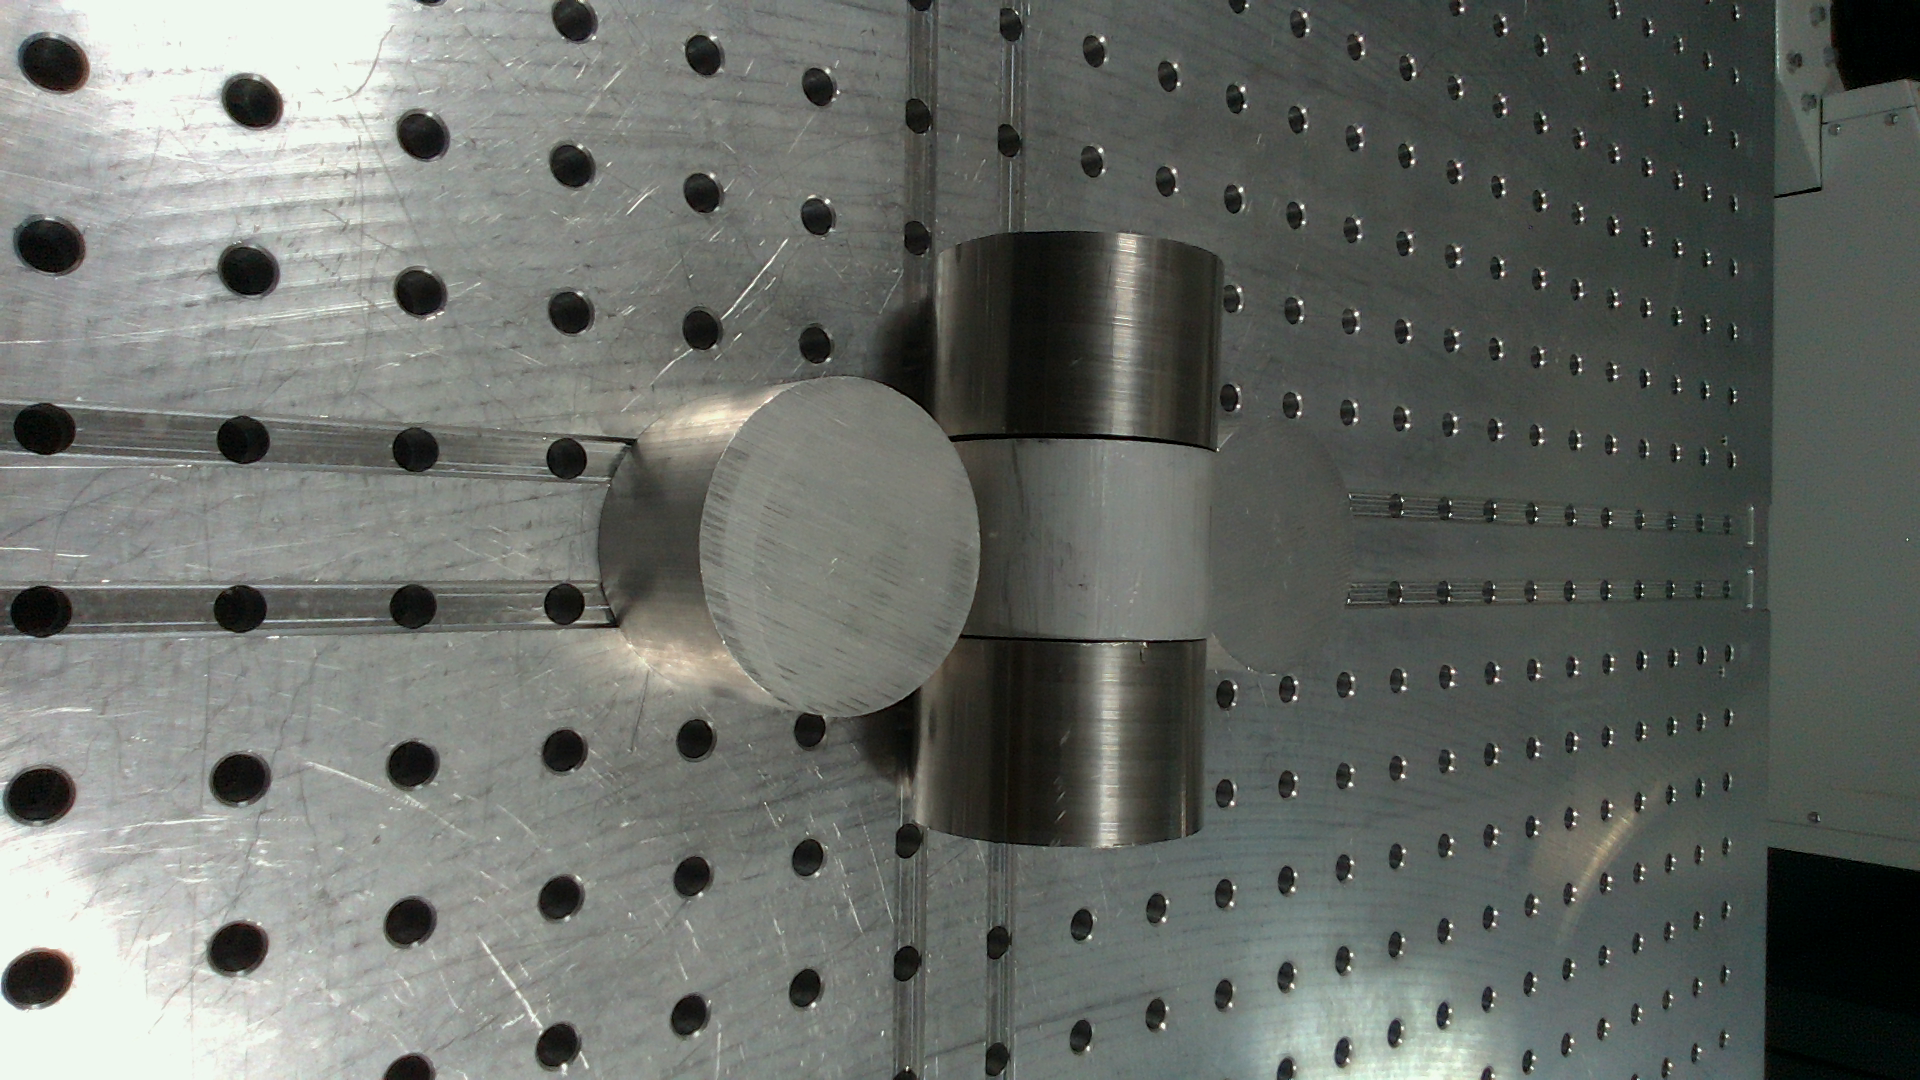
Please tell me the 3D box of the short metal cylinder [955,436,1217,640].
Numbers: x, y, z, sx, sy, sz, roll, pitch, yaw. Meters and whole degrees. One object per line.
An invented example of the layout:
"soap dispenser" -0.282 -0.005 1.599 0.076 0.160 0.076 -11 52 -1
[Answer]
"short metal cylinder" 0.030 0.000 0.381 0.080 0.080 0.050 3 88 -40

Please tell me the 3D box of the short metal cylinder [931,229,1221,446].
"short metal cylinder" 0.032 -0.051 0.382 0.080 0.080 0.050 3 88 -40

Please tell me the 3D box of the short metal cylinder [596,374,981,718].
"short metal cylinder" -0.042 0.001 0.340 0.080 0.050 0.080 0 90 -40

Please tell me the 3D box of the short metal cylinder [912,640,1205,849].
"short metal cylinder" 0.027 0.052 0.378 0.080 0.080 0.050 2 89 -40

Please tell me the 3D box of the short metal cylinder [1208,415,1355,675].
"short metal cylinder" 0.082 0.001 0.443 0.080 0.050 0.080 0 90 -40
